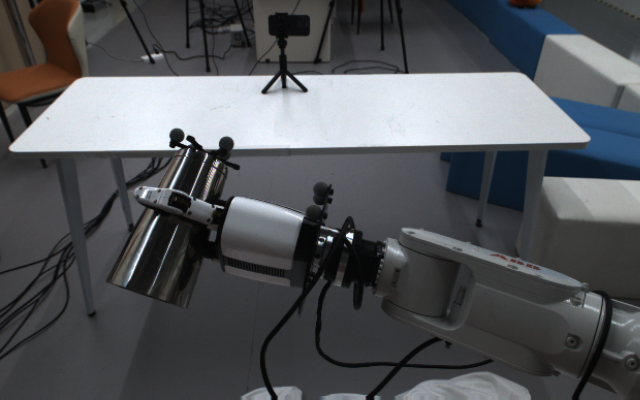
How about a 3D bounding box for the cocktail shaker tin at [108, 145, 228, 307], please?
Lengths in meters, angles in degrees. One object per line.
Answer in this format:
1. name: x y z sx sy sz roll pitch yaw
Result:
1. cocktail shaker tin: -0.168 0.030 0.560 0.093 0.093 0.170 13 71 15
